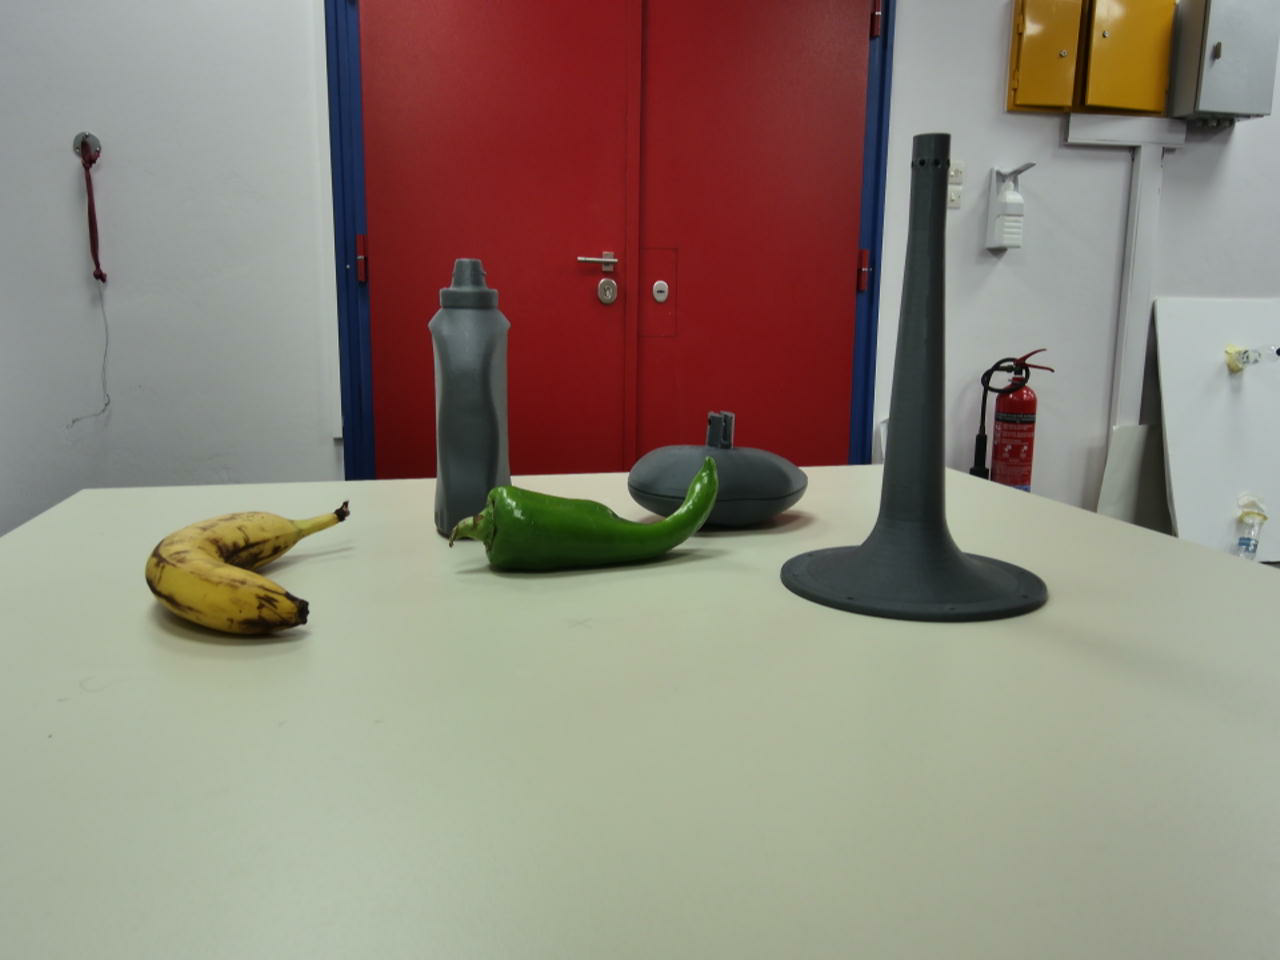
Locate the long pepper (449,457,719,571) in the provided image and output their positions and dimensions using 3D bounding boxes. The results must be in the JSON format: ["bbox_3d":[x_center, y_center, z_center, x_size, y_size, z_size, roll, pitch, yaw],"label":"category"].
[{"bbox_3d":[-0.031,0.021,0.627,0.175,0.065,0.058,-2,8,-14],"label":"long pepper"}]
